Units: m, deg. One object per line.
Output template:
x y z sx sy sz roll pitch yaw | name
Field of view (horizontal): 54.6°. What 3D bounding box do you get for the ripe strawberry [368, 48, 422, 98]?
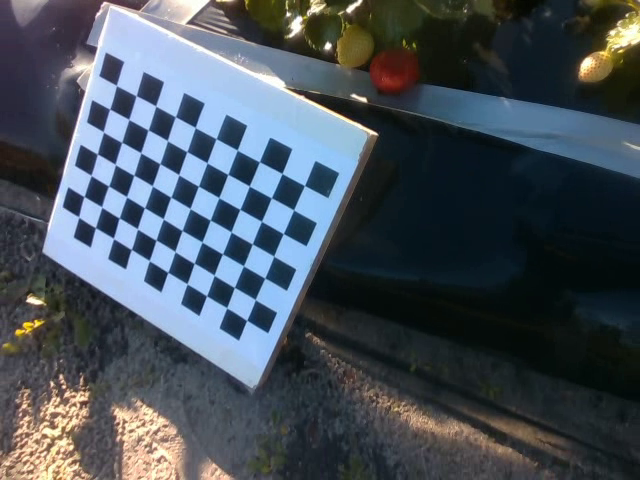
0.063 -0.146 0.535 0.045 0.048 0.064 -41 20 26 | ripe strawberry
